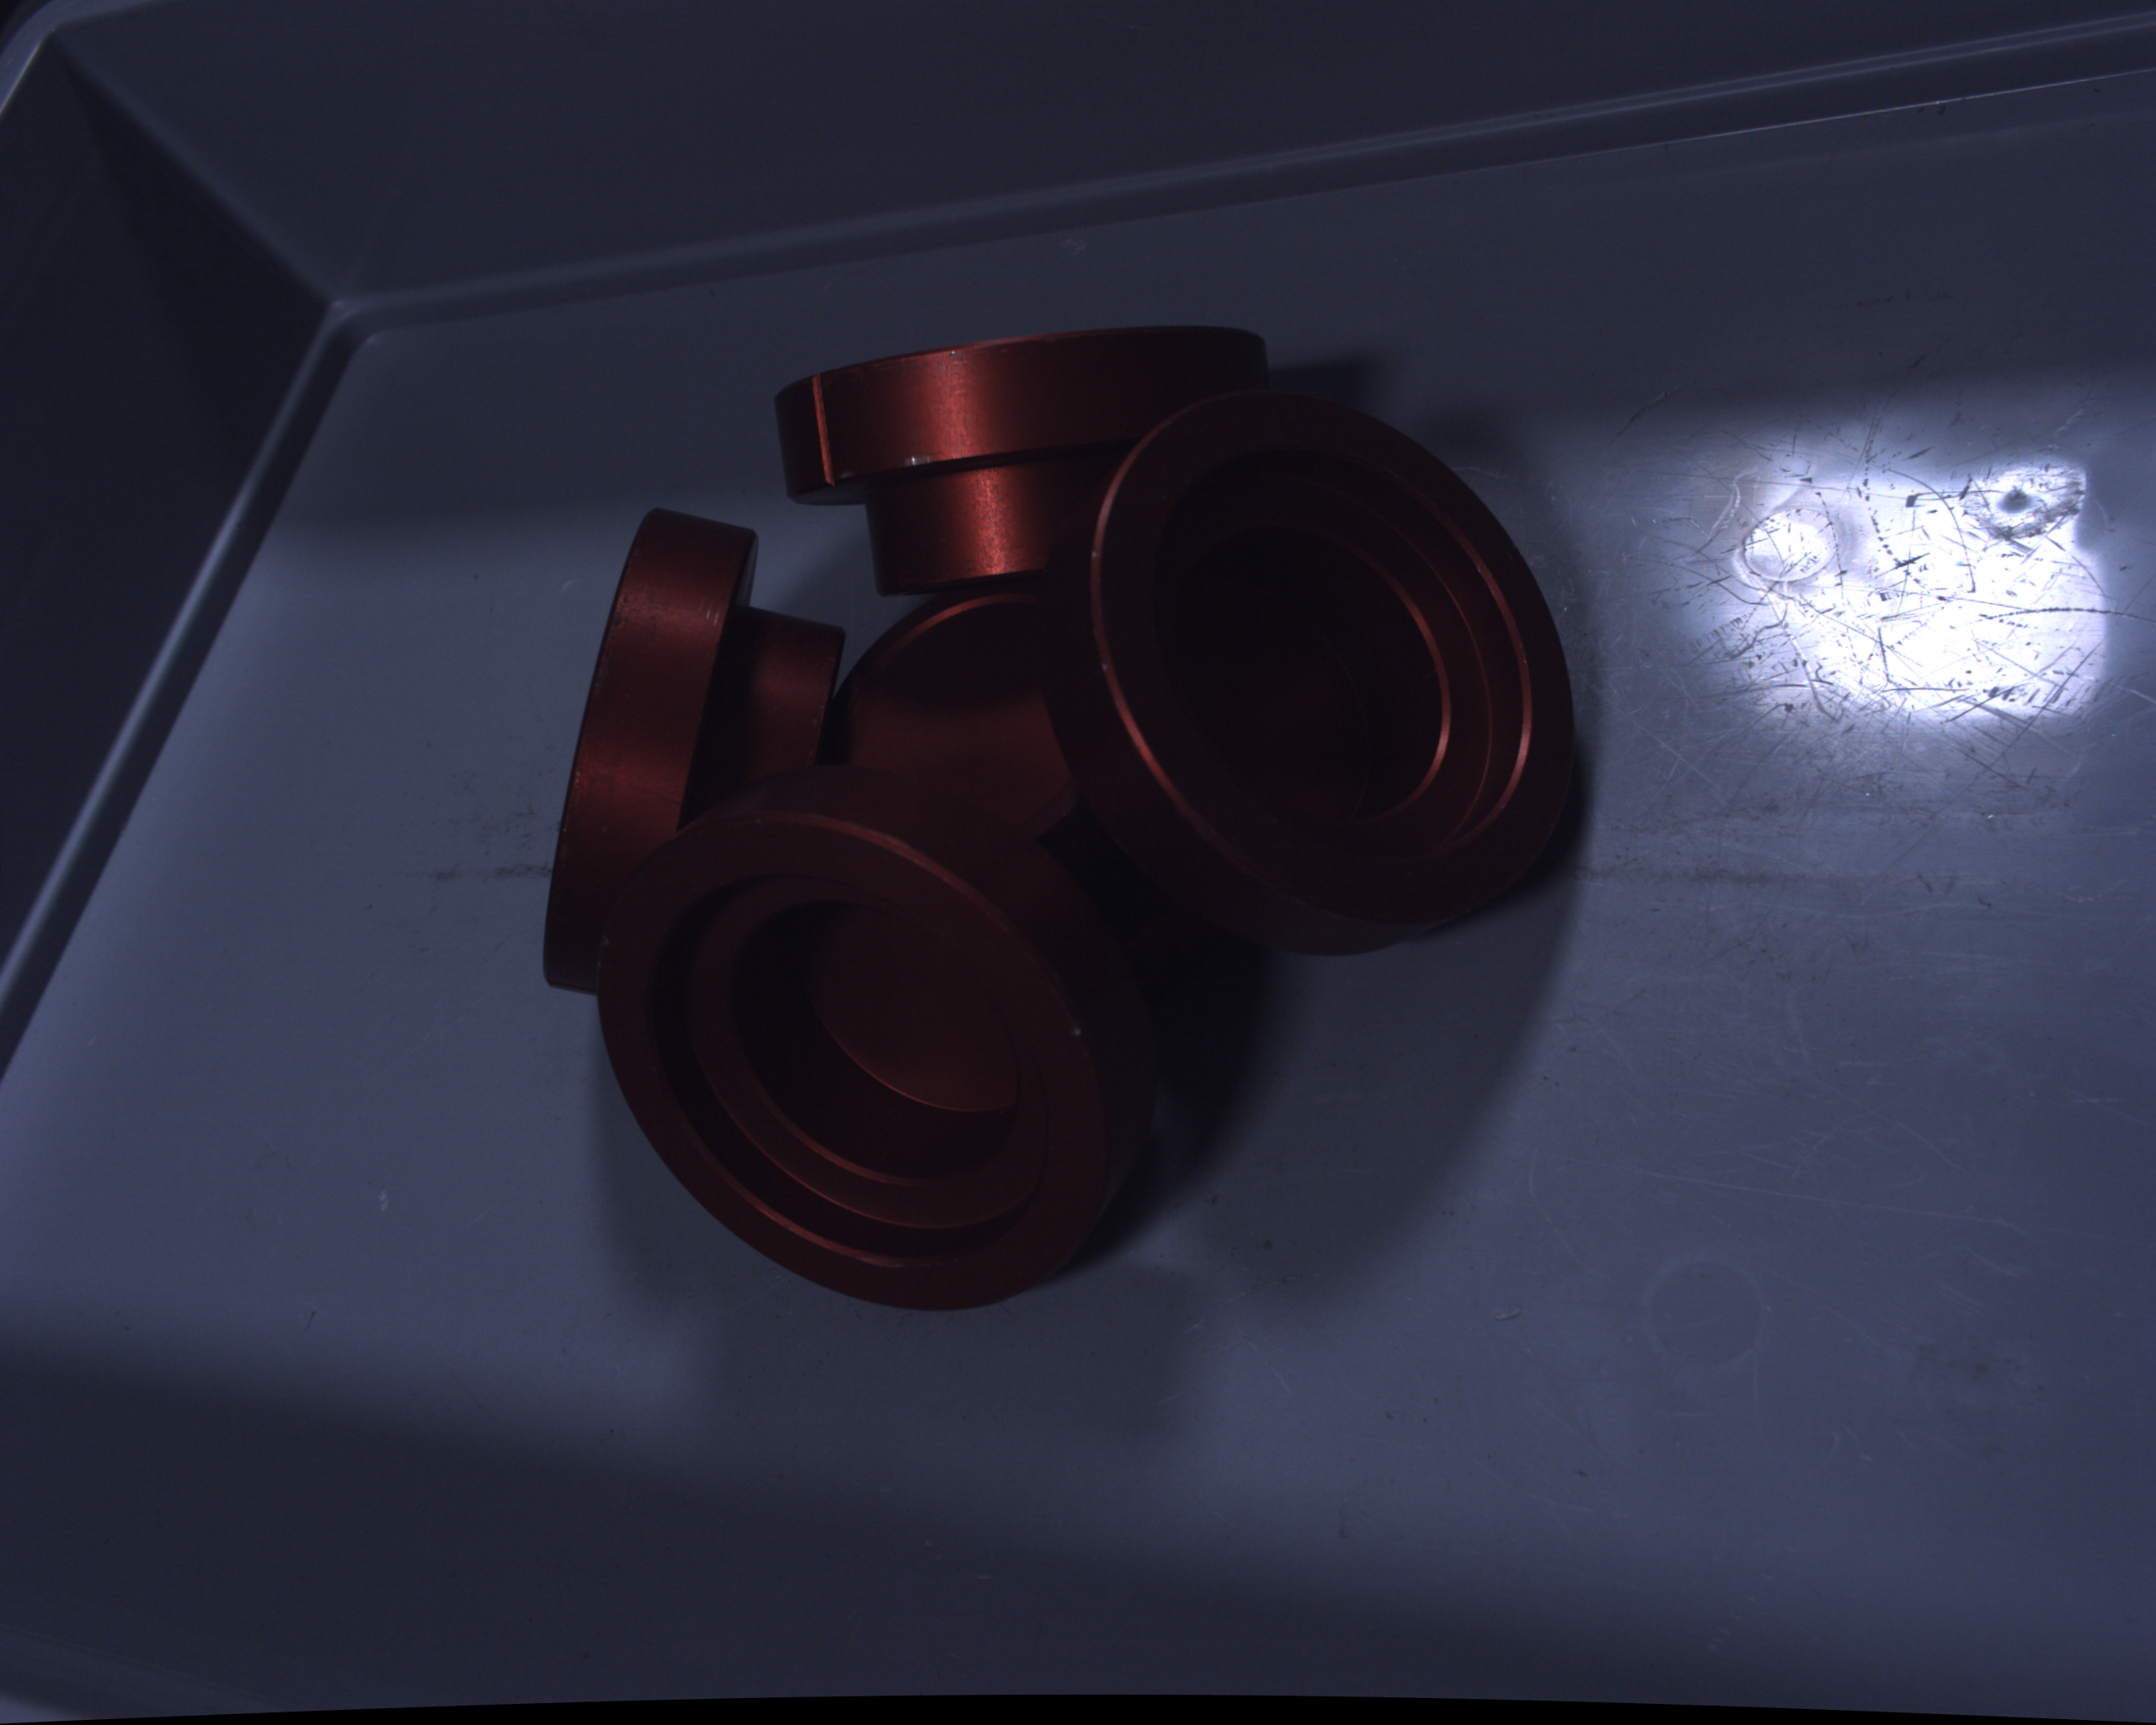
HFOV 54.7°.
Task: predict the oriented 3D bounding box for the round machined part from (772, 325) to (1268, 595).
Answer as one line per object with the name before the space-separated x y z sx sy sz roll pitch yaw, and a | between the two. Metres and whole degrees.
round machined part | -0.010 -0.079 0.420 0.098 0.098 0.042 -3 98 26

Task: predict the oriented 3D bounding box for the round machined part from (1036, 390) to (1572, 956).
round machined part | 0.036 -0.030 0.369 0.042 0.099 0.098 -33 40 55

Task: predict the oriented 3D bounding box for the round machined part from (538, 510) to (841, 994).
round machined part | -0.075 -0.019 0.418 0.042 0.098 0.098 12 62 -8

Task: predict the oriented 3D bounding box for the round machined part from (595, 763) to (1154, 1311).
round machined part | -0.032 0.027 0.367 0.098 0.097 0.042 -1 25 27

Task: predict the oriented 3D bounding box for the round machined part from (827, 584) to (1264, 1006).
round machined part | -0.012 -0.017 0.408 0.098 0.042 0.098 -13 56 20
